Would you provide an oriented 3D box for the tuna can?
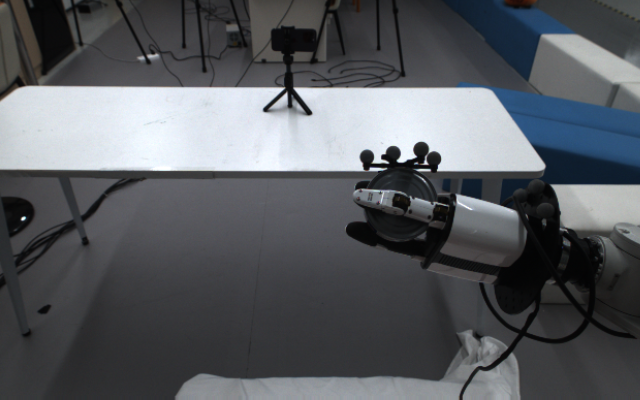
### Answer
[{"bbox_3d":[0.095,0.005,0.572,0.085,0.034,0.085,-1,76,4],"label":"tuna can"}]
